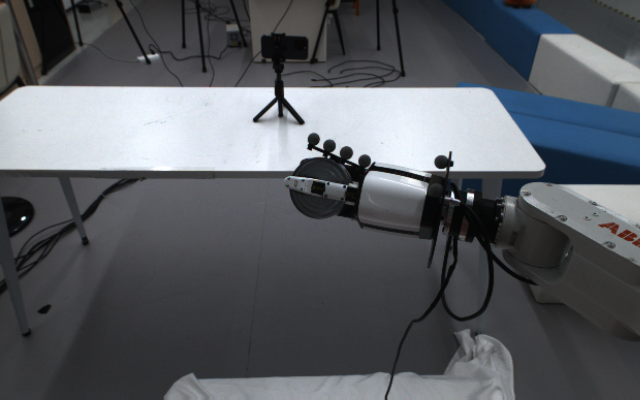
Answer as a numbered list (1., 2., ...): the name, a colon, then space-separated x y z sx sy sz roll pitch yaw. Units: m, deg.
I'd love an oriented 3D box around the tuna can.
1. tuna can: 0.004 -0.016 0.679 0.085 0.085 0.034 13 2 16
